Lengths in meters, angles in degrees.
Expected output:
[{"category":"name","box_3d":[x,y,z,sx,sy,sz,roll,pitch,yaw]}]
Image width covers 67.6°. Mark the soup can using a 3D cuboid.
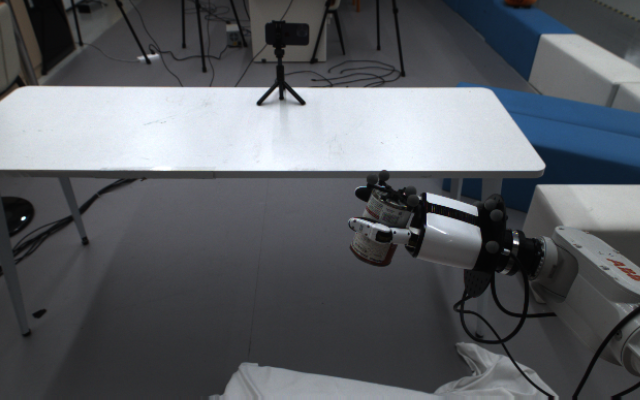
[{"category":"soup can","box_3d":[0.094,0.040,0.730,0.067,0.101,0.067,17,21,-7]}]
